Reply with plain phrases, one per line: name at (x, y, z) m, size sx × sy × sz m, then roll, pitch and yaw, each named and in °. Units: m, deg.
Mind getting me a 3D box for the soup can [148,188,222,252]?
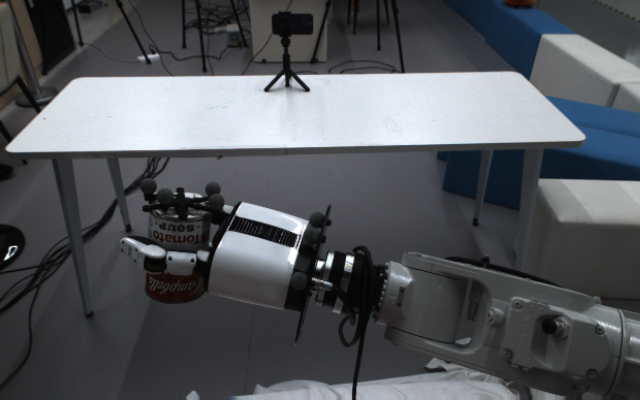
soup can at (-0.157, 0.056, 0.541) m, size 0.067 × 0.101 × 0.067 m, roll 8°, pitch 19°, yaw -3°
